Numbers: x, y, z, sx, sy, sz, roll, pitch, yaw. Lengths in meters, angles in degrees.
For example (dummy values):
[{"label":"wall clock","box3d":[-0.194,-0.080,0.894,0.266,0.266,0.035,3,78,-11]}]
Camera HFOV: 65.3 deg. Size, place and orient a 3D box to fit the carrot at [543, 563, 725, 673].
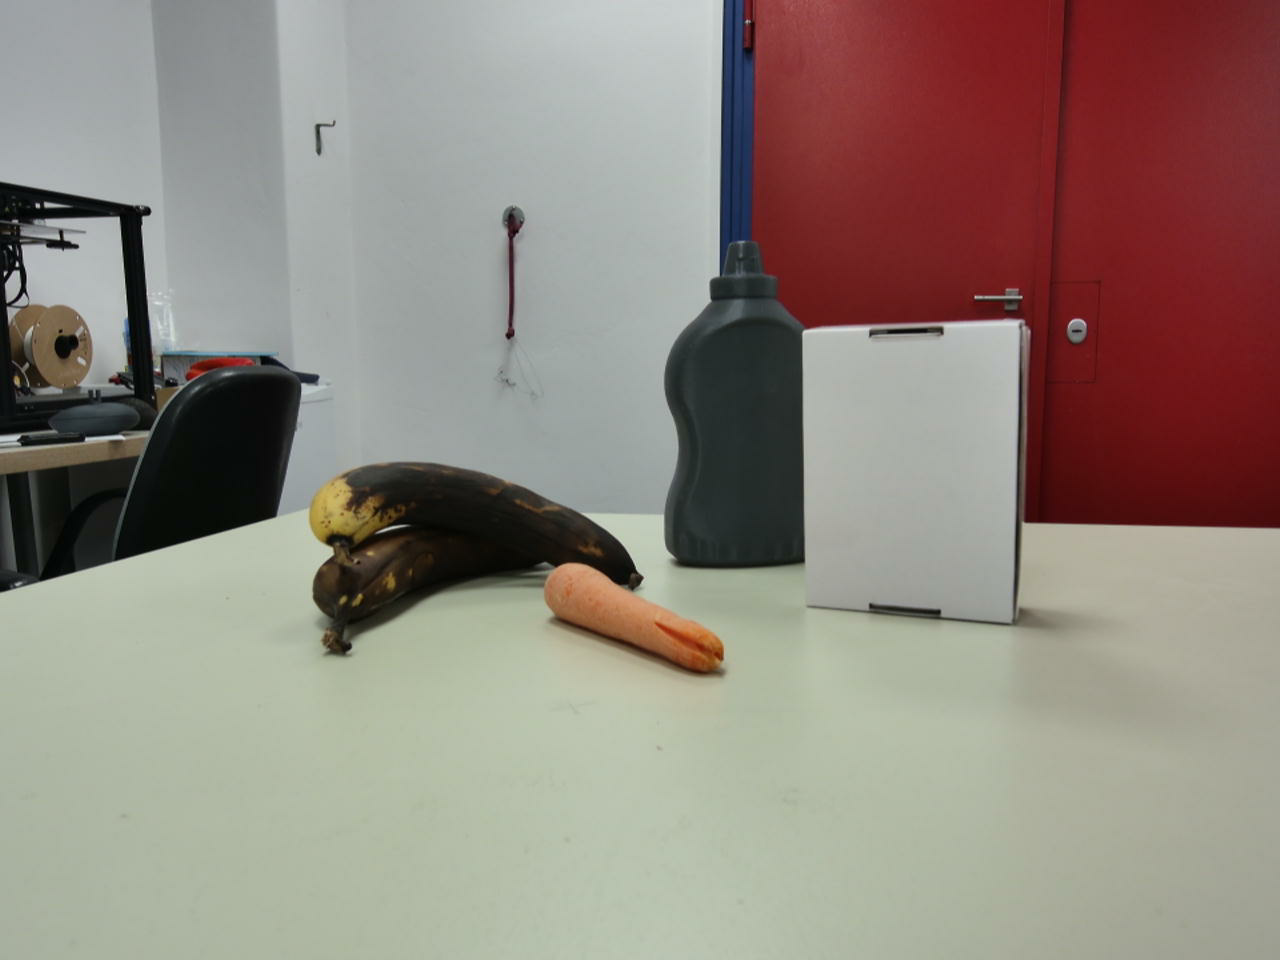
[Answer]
[{"label":"carrot","box3d":[-0.007,0.061,0.468,0.030,0.032,0.136,-2,5,-33]}]
